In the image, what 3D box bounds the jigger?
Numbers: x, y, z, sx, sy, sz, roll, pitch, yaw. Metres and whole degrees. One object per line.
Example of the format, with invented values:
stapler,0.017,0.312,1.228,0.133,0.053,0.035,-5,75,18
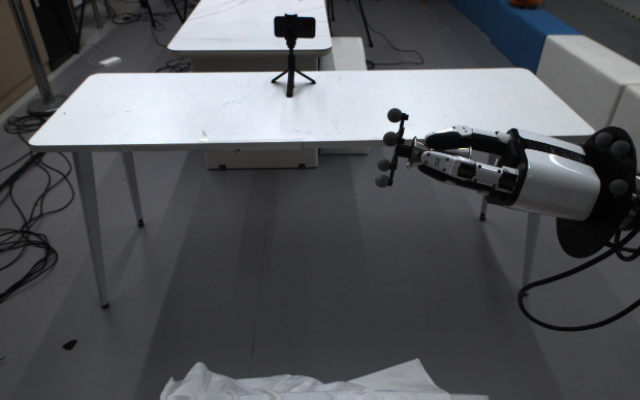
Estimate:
jigger,0.149,-0.053,0.587,0.071,0.043,0.043,11,35,4
